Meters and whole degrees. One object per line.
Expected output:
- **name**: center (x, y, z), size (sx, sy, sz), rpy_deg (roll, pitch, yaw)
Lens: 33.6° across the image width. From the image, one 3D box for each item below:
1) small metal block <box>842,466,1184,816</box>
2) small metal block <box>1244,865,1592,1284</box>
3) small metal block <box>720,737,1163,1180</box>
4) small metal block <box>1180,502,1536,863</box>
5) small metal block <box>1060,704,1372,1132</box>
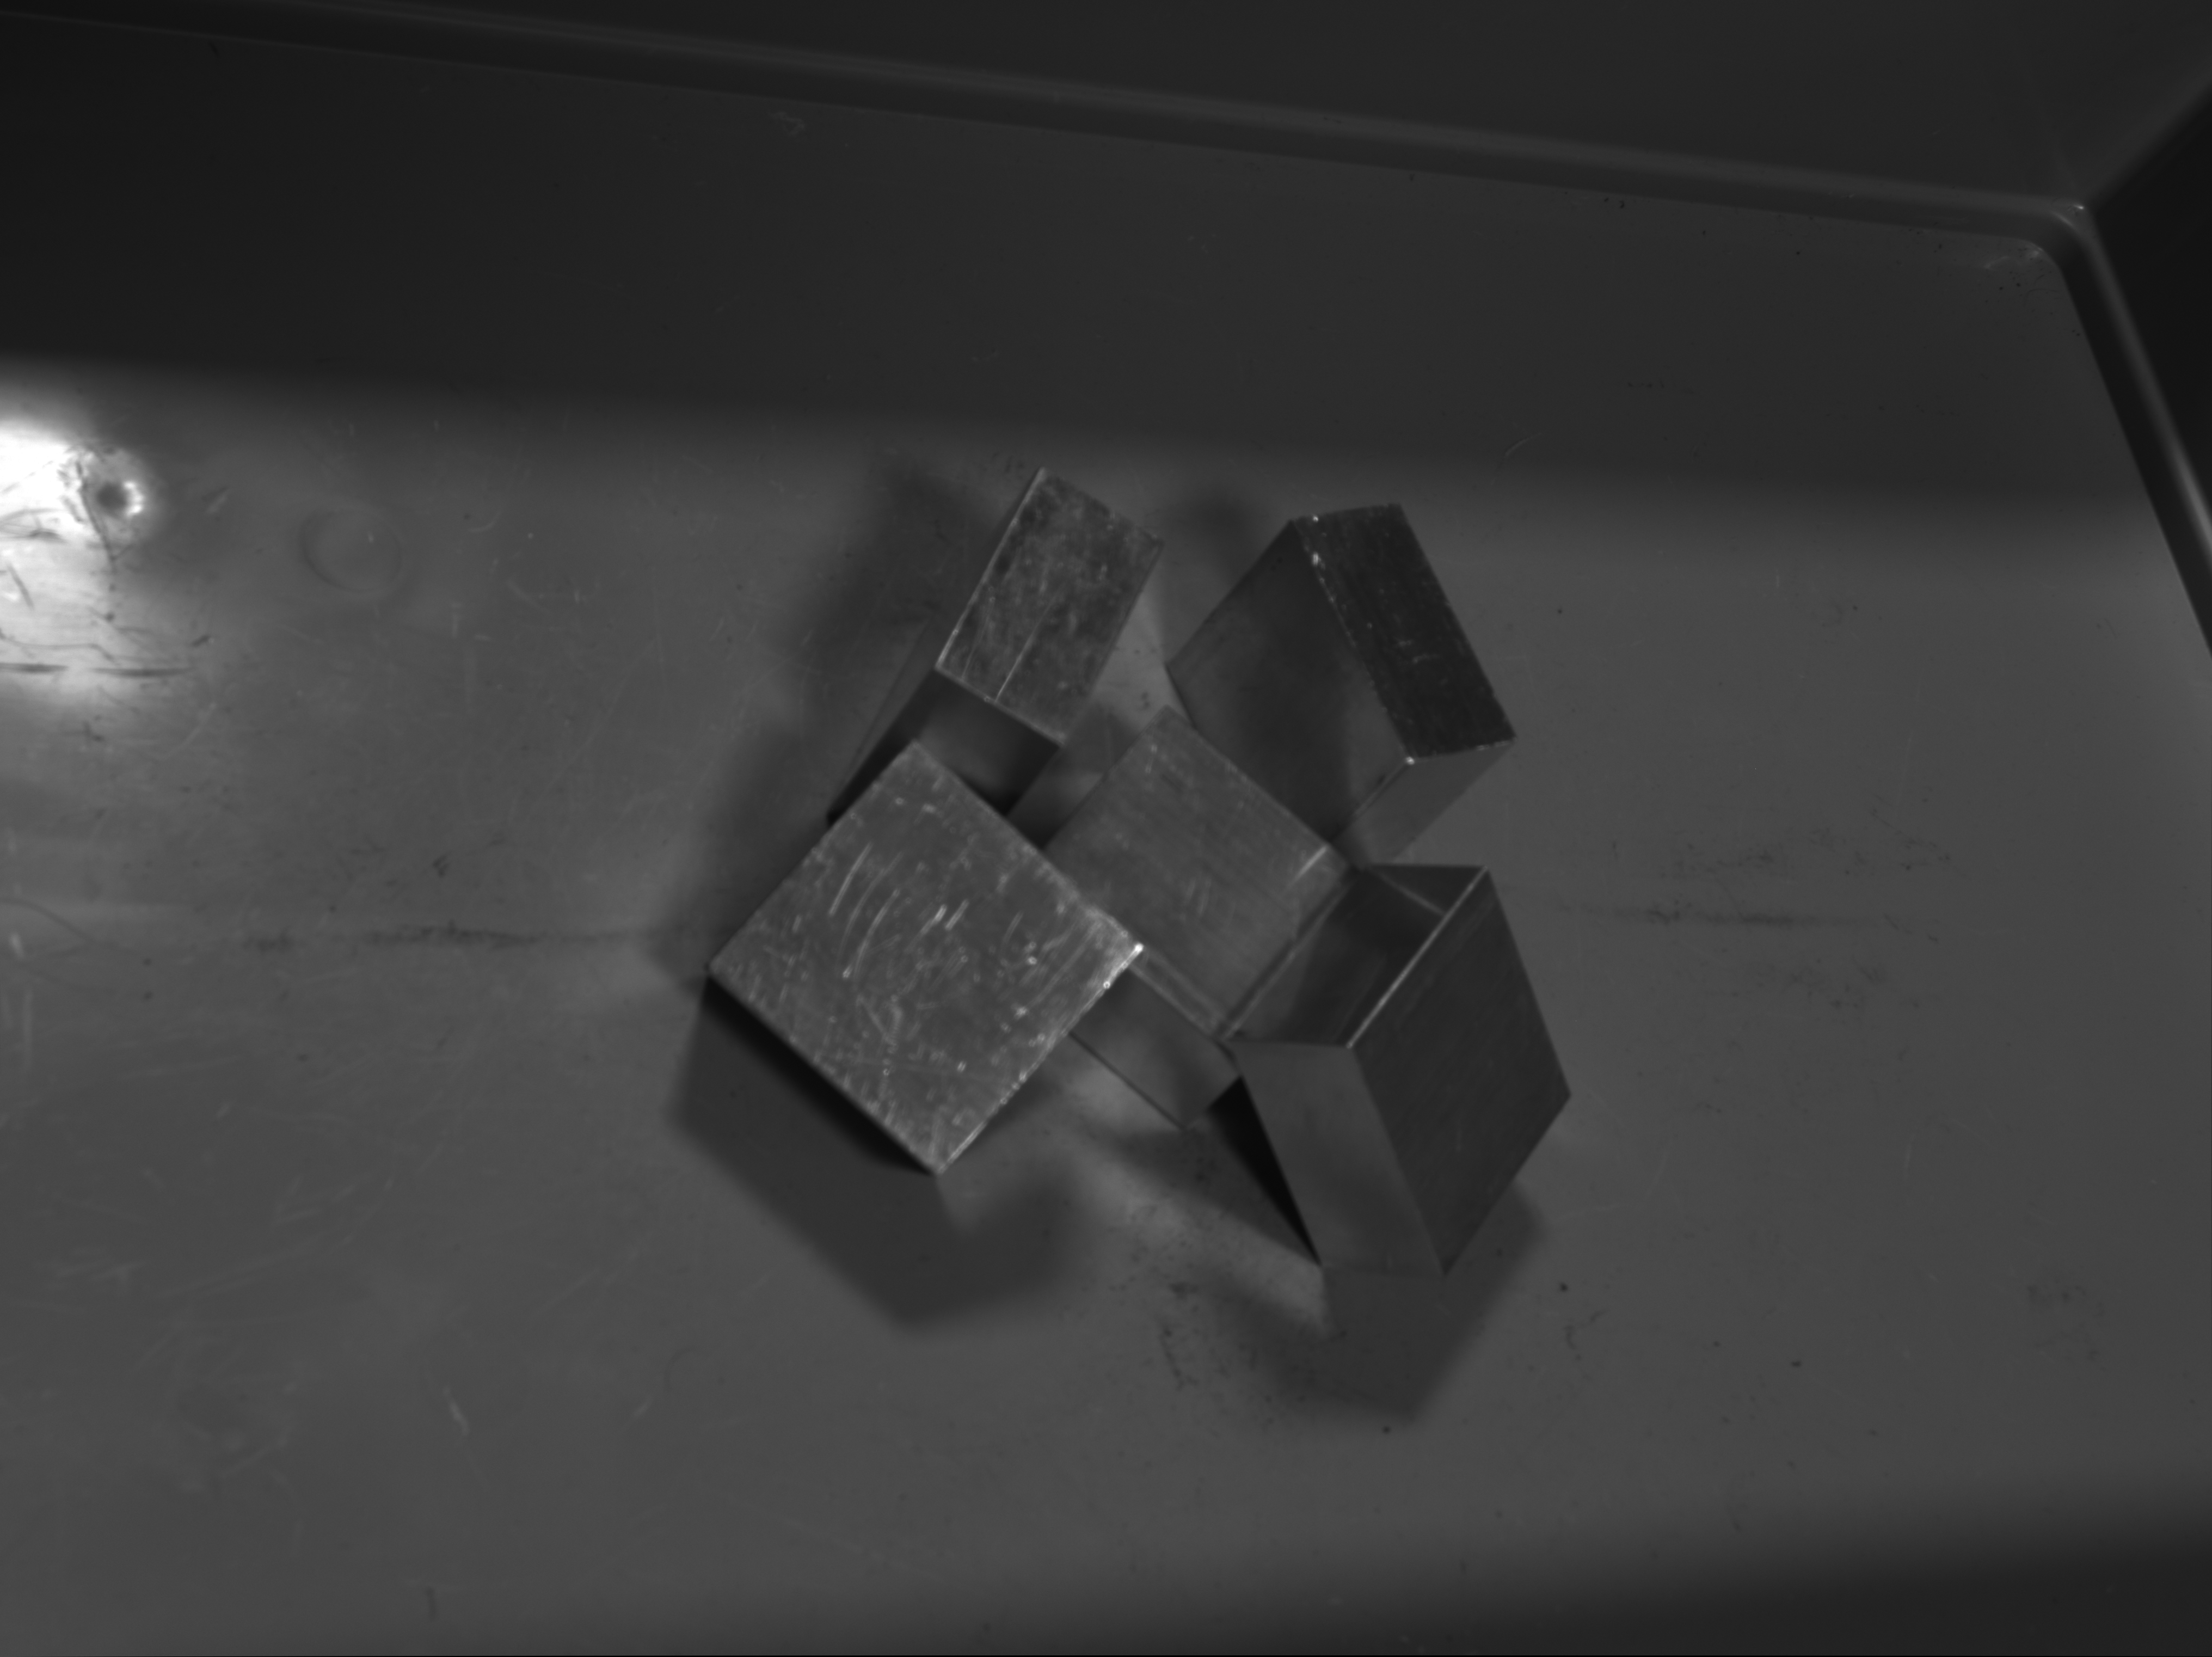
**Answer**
- **small metal block**: center (-0.016, -0.026, 0.628), size (0.025, 0.050, 0.050), rpy_deg (32, 52, -7)
- **small metal block**: center (0.054, 0.041, 0.625), size (0.050, 0.025, 0.050), rpy_deg (-48, 126, -39)
- **small metal block**: center (-0.027, 0.022, 0.596), size (0.050, 0.025, 0.050), rpy_deg (42, 84, 0)
- **small metal block**: center (0.044, -0.023, 0.659), size (0.025, 0.050, 0.050), rpy_deg (-11, 67, -34)
- **small metal block**: center (0.014, 0.015, 0.636), size (0.050, 0.025, 0.050), rpy_deg (41, 51, 0)
